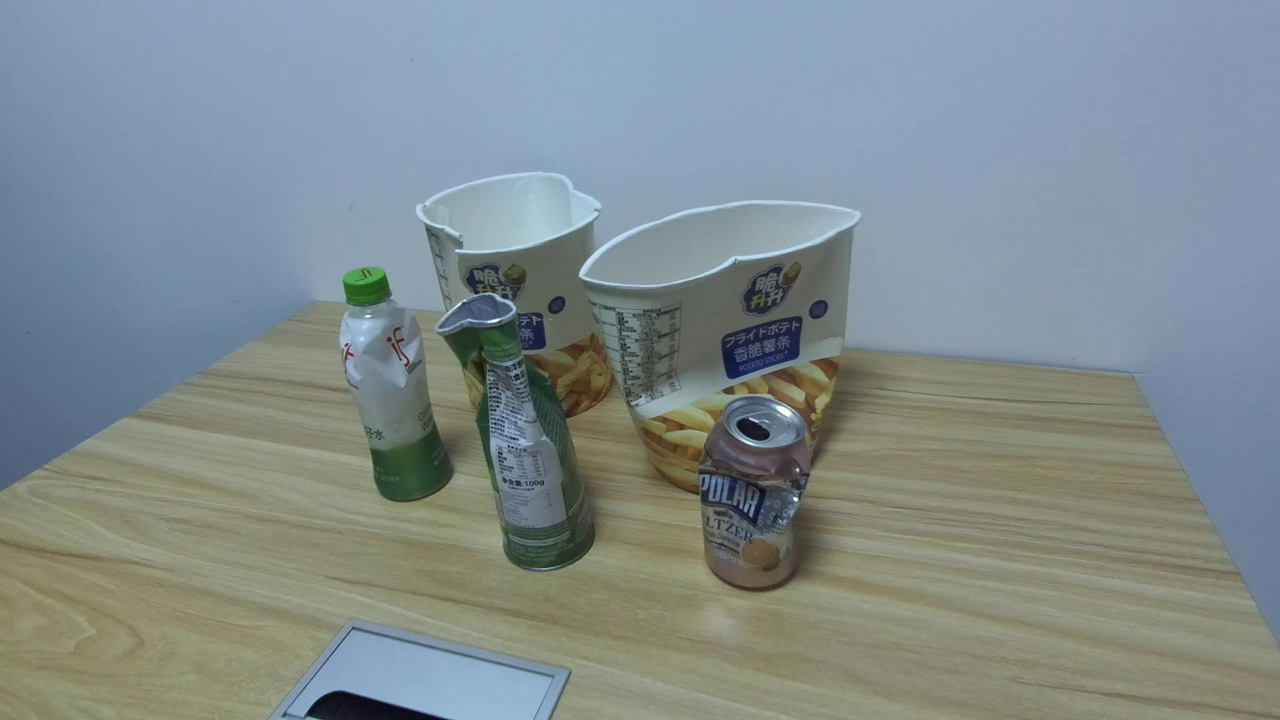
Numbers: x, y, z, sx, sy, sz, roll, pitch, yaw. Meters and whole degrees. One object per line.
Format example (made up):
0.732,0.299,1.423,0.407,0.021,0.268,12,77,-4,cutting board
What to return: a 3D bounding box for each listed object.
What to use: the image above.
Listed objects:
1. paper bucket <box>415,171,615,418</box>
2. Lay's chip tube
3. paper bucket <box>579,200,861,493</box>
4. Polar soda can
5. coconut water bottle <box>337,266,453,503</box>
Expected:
-0.106,-0.057,0.675,0.146,0.197,0.202,-19,32,-21,paper bucket
-0.085,0.050,0.488,0.071,0.200,0.079,-7,27,11,Lay's chip tube
0.074,-0.012,0.565,0.147,0.199,0.218,14,35,28,paper bucket
0.081,0.090,0.471,0.067,0.122,0.070,-23,34,-40,Polar soda can
-0.197,0.020,0.561,0.067,0.187,0.067,-3,28,2,coconut water bottle
